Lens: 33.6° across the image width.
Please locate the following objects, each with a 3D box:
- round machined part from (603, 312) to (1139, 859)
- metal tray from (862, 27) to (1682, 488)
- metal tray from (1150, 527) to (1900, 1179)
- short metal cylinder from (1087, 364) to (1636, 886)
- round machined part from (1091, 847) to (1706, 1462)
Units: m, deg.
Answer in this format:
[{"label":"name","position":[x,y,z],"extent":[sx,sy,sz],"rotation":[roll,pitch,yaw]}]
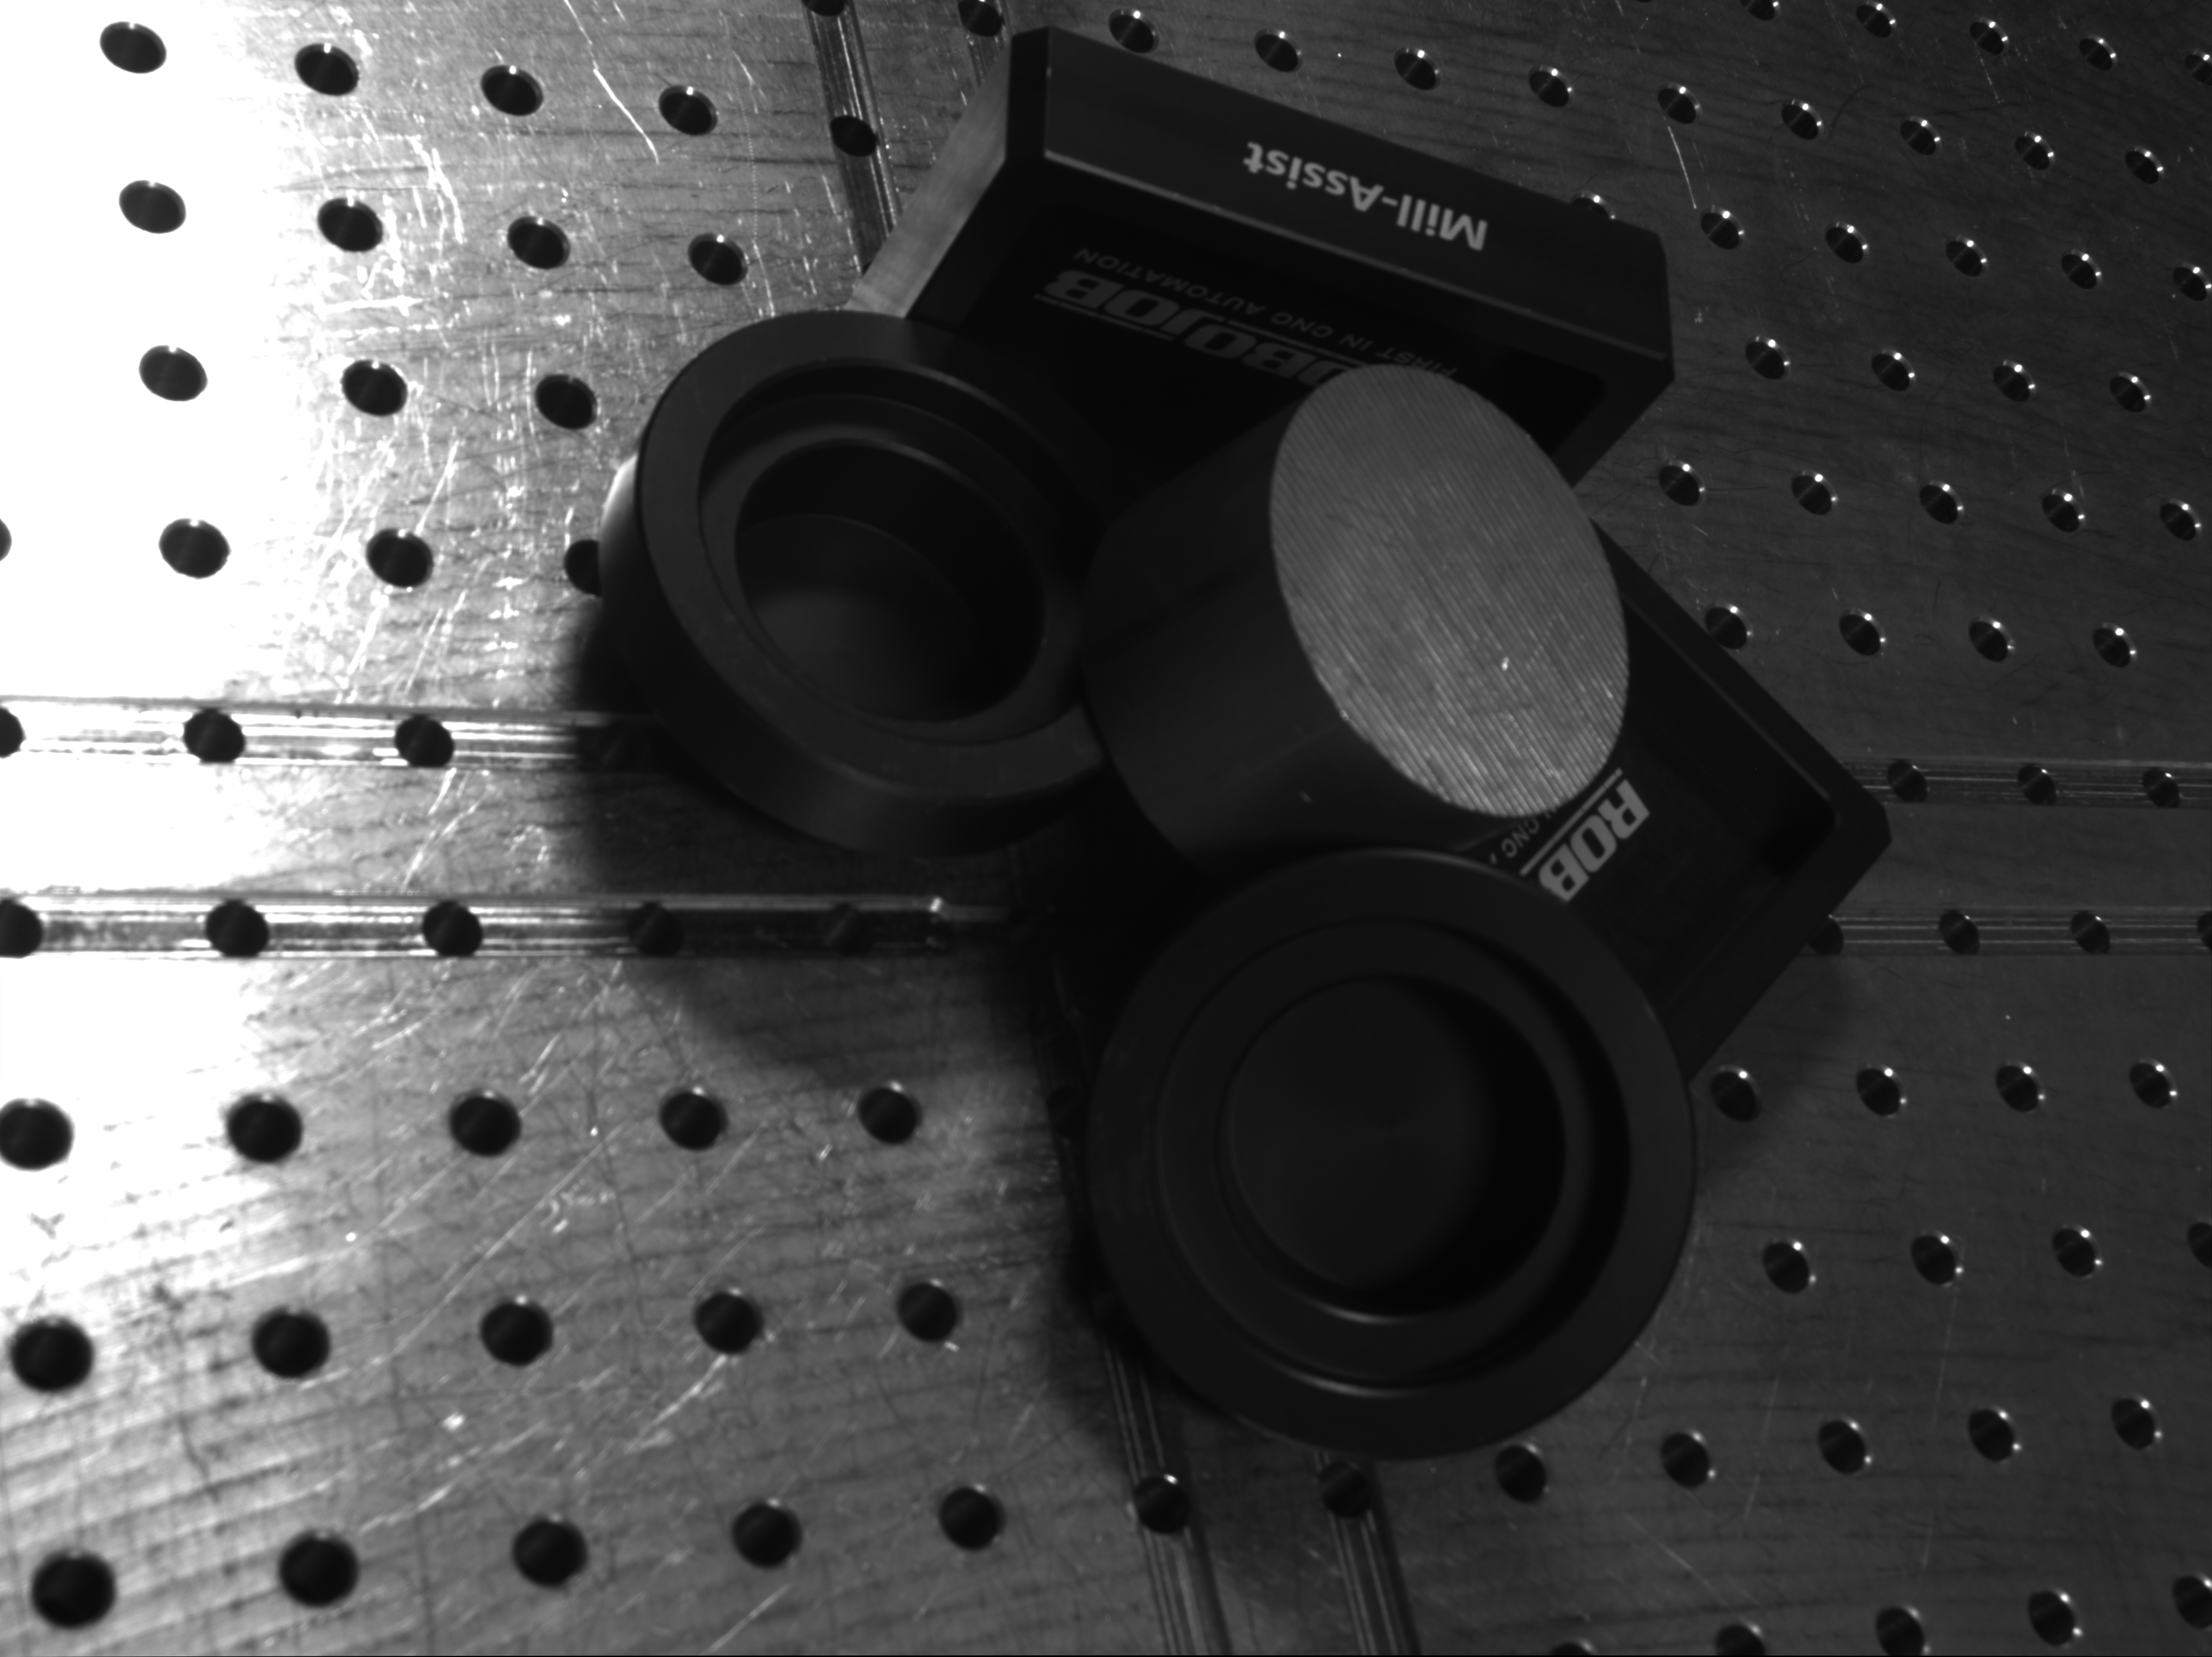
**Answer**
[{"label":"round machined part","position":[-0.040,-0.038,0.634],"extent":[0.098,0.042,0.098],"rotation":[14,56,-21]},{"label":"metal tray","position":[0.027,-0.089,0.670],"extent":[0.130,0.090,0.030],"rotation":[15,56,-20]},{"label":"metal tray","position":[0.080,0.009,0.676],"extent":[0.090,0.030,0.130],"rotation":[45,51,3]},{"label":"short metal cylinder","position":[0.044,-0.032,0.622],"extent":[0.080,0.050,0.080],"rotation":[18,60,-34]},{"label":"round machined part","position":[0.048,0.052,0.604],"extent":[0.098,0.042,0.098],"rotation":[0,92,5]}]
